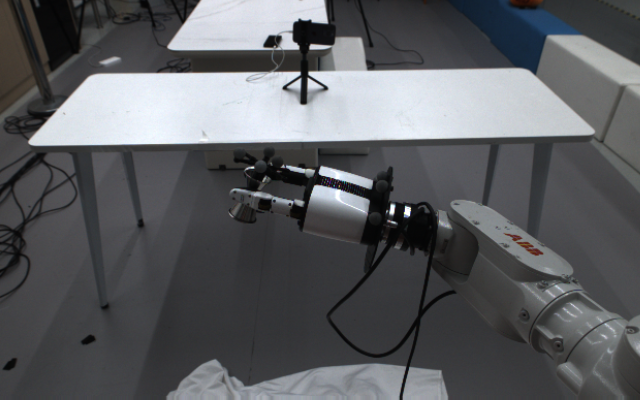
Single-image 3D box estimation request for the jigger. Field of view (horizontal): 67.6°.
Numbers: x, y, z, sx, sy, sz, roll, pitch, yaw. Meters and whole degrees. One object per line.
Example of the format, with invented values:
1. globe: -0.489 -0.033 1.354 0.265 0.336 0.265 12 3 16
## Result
1. jigger: -0.102 -0.006 0.700 0.043 0.071 0.043 22 19 -8
